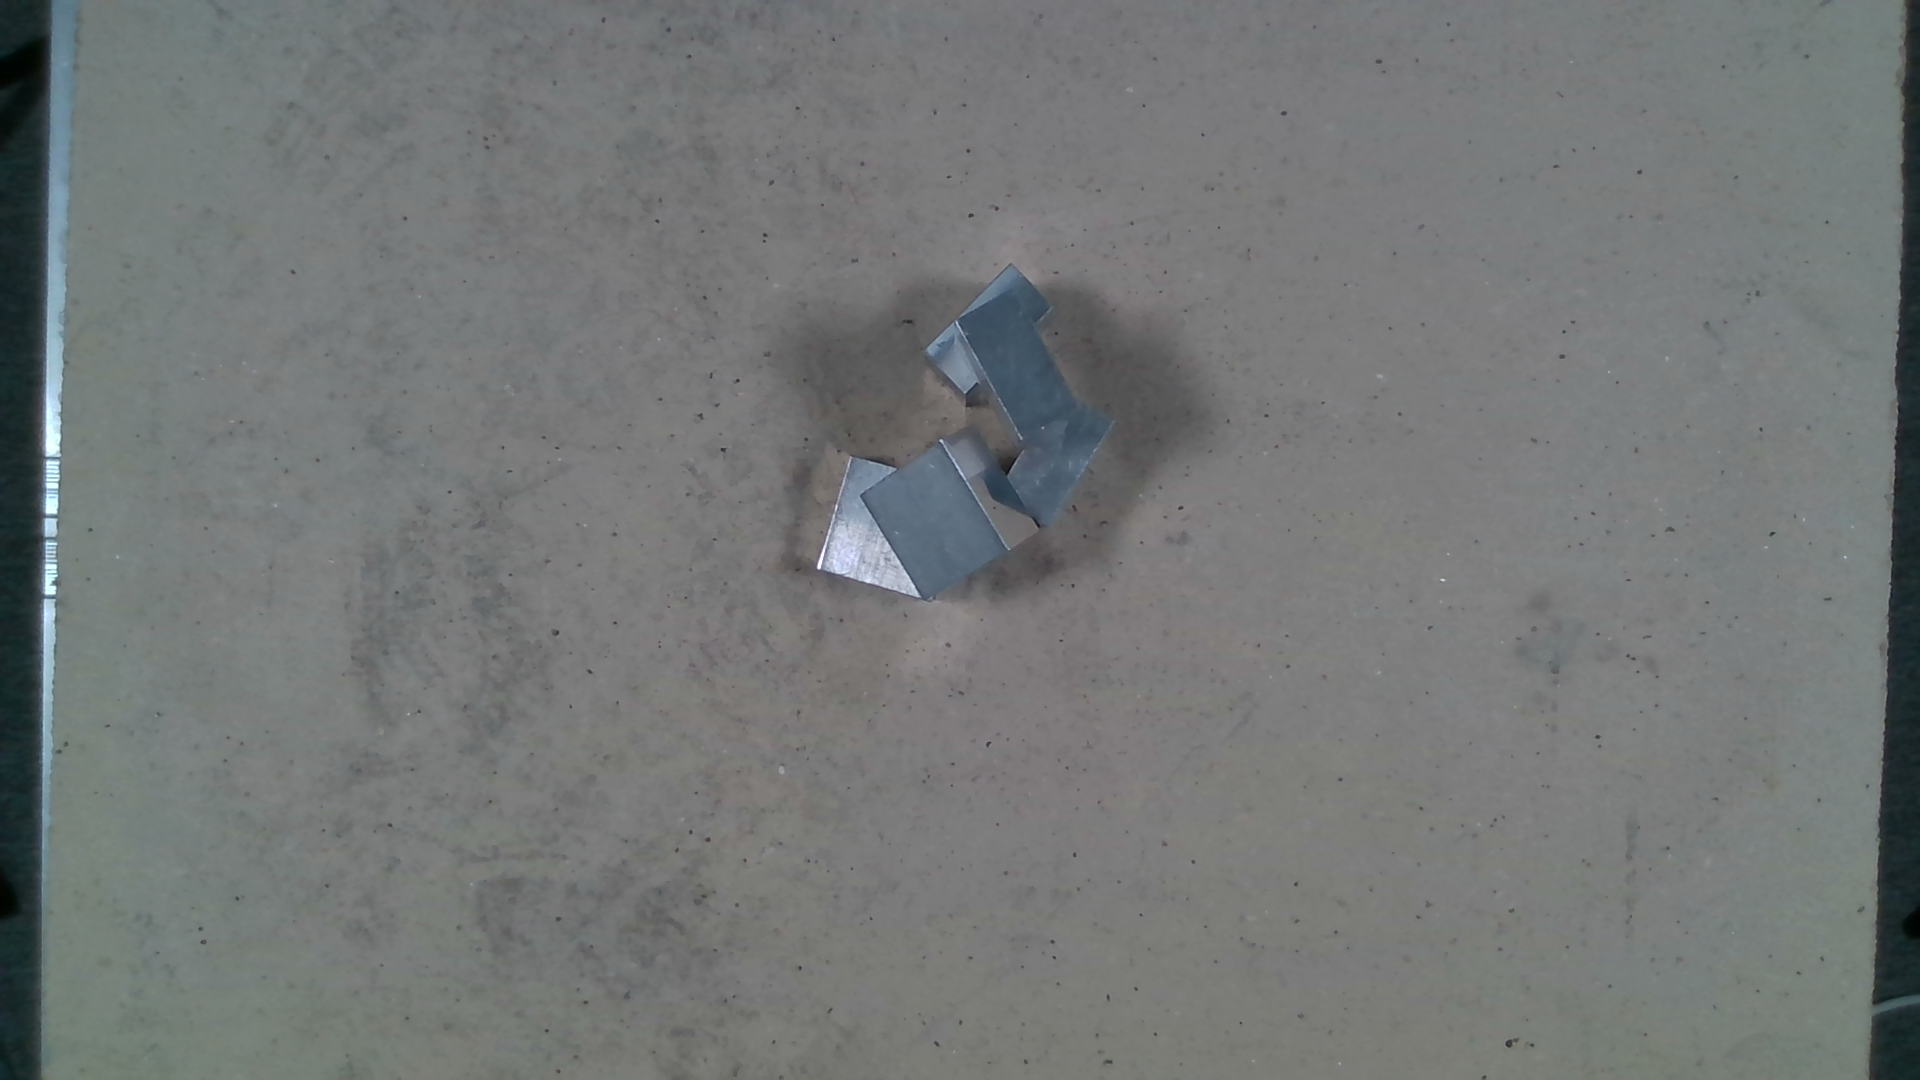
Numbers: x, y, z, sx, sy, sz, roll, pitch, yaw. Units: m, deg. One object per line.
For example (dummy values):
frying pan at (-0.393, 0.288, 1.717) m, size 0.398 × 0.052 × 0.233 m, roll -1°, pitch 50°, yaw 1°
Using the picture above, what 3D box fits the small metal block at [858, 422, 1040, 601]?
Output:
small metal block at (-0.005, -0.011, 0.550) m, size 0.050 × 0.025 × 0.050 m, roll -31°, pitch 90°, yaw 37°

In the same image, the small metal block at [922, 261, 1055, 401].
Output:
small metal block at (0.011, -0.085, 0.574) m, size 0.050 × 0.050 × 0.025 m, roll -45°, pitch 90°, yaw 0°

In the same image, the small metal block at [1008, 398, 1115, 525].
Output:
small metal block at (0.038, -0.034, 0.575) m, size 0.025 × 0.050 × 0.050 m, roll 32°, pitch 90°, yaw 0°

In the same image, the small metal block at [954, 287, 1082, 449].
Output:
small metal block at (0.021, -0.064, 0.524) m, size 0.025 × 0.050 × 0.050 m, roll -29°, pitch 90°, yaw 0°

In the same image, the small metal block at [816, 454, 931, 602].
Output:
small metal block at (-0.029, -0.005, 0.587) m, size 0.050 × 0.025 × 0.050 m, roll 16°, pitch 90°, yaw 0°
